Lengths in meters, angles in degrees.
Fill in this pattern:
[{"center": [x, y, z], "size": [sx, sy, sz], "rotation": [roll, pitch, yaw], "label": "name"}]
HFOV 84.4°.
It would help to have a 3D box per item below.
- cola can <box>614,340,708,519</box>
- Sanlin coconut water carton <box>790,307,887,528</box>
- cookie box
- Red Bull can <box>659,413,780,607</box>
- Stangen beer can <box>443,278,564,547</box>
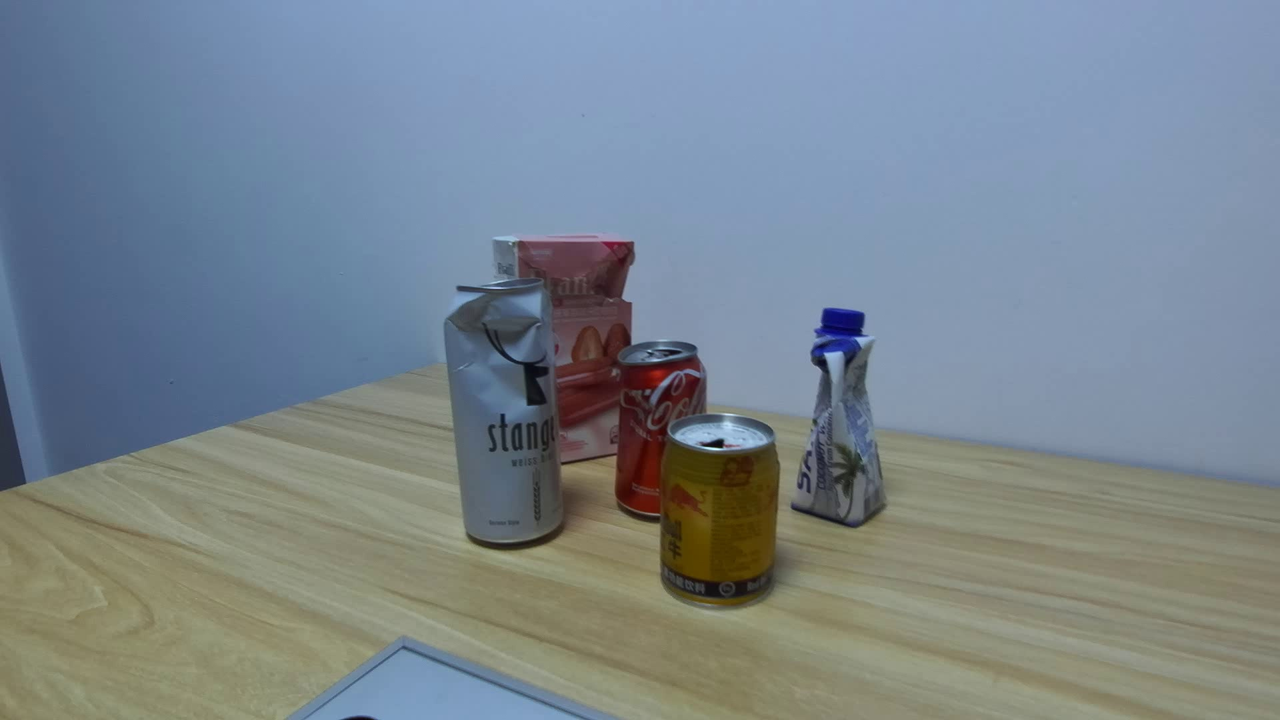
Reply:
[{"center": [0.016, 0.048, 0.500], "size": [0.065, 0.117, 0.072], "rotation": [-4, 15, -11], "label": "cola can"}, {"center": [0.130, 0.039, 0.487], "size": [0.056, 0.144, 0.069], "rotation": [2, 18, 40], "label": "Sanlin coconut water carton"}, {"center": [-0.061, -0.009, 0.585], "size": [0.105, 0.186, 0.059], "rotation": [-5, 16, -23], "label": "cookie box"}, {"center": [0.045, 0.082, 0.400], "size": [0.067, 0.093, 0.067], "rotation": [1, 16, 0], "label": "Red Bull can"}, {"center": [-0.085, 0.034, 0.456], "size": [0.066, 0.166, 0.066], "rotation": [-1, 12, 1], "label": "Stangen beer can"}]
